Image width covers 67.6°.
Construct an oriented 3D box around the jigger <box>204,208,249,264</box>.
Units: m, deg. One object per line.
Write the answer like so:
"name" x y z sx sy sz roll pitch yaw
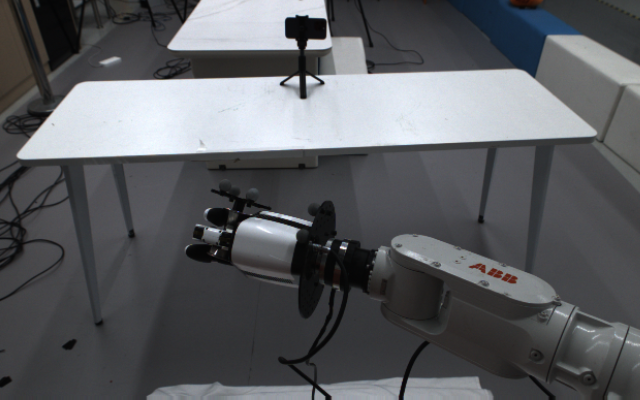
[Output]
"jigger" -0.125 0.048 0.673 0.043 0.071 0.043 18 -6 2
